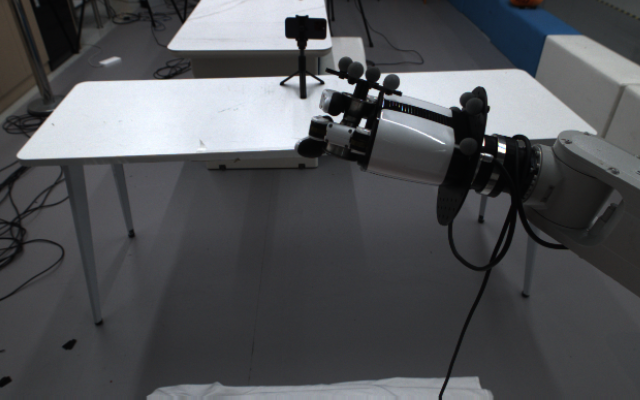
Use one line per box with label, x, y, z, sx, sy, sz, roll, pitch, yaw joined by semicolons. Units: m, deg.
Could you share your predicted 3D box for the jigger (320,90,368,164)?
jigger;0.031;-0.084;0.550;0.043;0.071;0.043;18;17;-5
